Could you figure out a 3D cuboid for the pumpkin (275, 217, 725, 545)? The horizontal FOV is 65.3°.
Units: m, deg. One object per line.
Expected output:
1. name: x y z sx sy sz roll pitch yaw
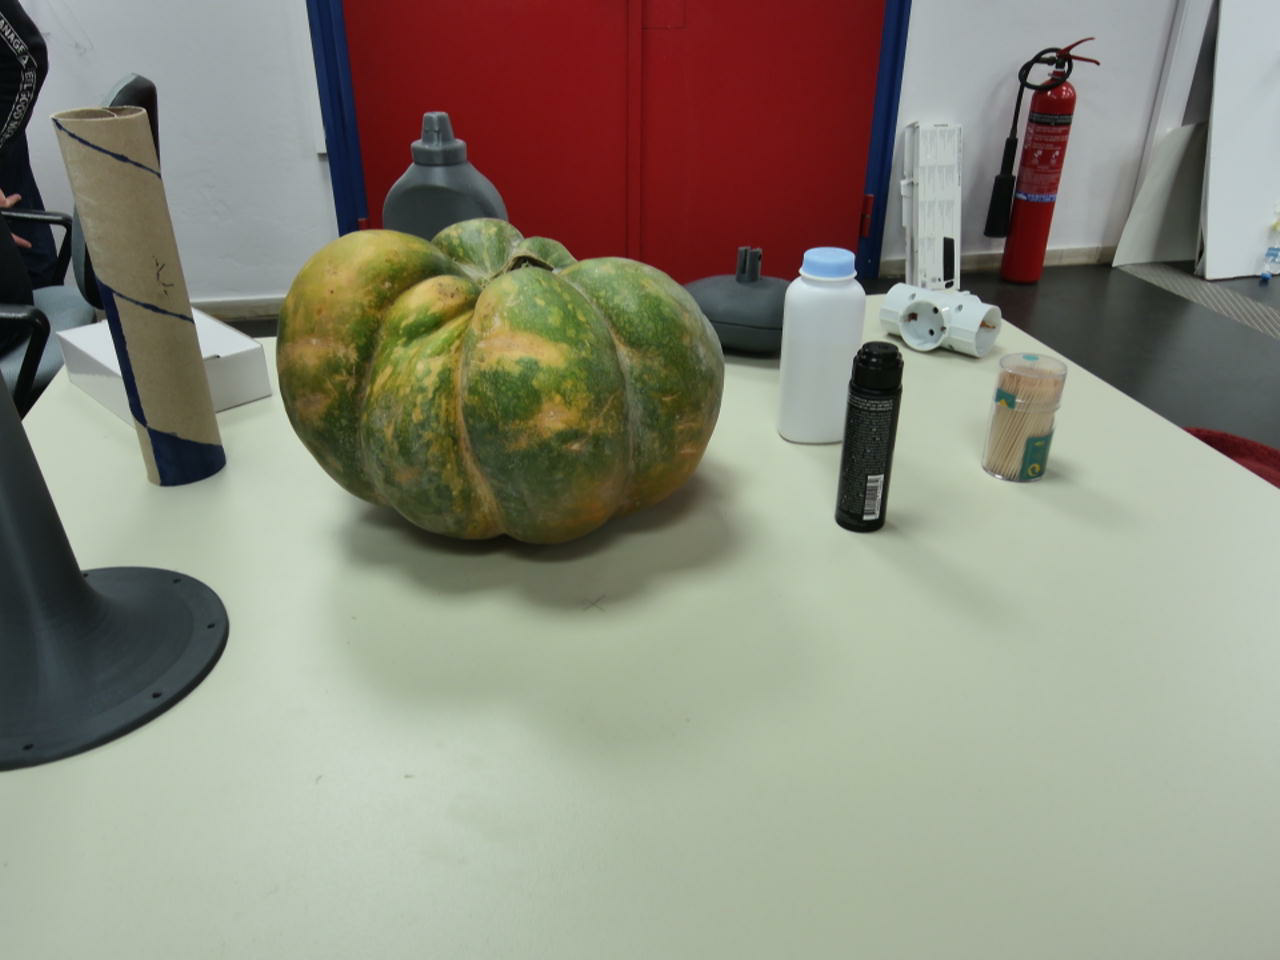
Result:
1. pumpkin: -0.078 -0.067 0.591 0.270 0.173 0.237 12 29 22
